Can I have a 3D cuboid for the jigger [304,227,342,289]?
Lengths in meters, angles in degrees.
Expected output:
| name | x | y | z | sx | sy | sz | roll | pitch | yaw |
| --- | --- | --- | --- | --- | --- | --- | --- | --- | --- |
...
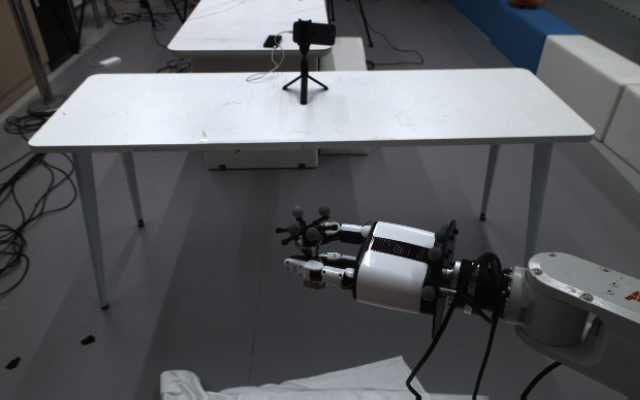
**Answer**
| name | x | y | z | sx | sy | sz | roll | pitch | yaw |
| --- | --- | --- | --- | --- | --- | --- | --- | --- | --- |
| jigger | -0.007 | 0.083 | 0.683 | 0.043 | 0.071 | 0.043 | -10 | 23 | 5 |
